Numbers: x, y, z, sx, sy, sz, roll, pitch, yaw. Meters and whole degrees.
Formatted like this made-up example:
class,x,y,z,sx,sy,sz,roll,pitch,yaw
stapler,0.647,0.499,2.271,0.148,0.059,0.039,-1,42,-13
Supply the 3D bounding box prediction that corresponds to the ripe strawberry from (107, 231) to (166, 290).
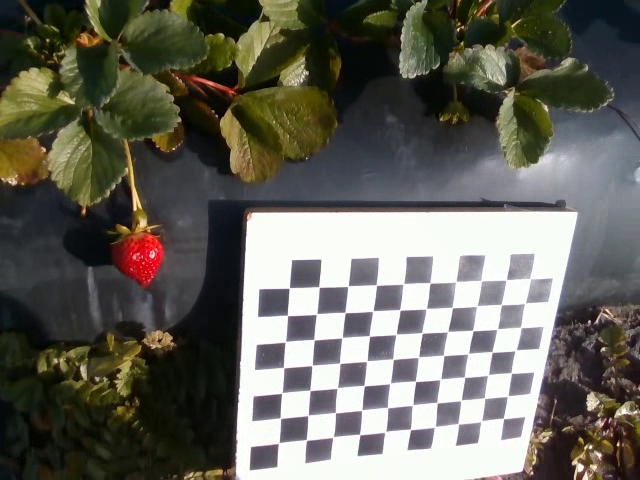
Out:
class,x,y,z,sx,sy,sz,roll,pitch,yaw
ripe strawberry,-0.124,0.016,0.454,0.040,0.044,0.037,-19,11,-9
